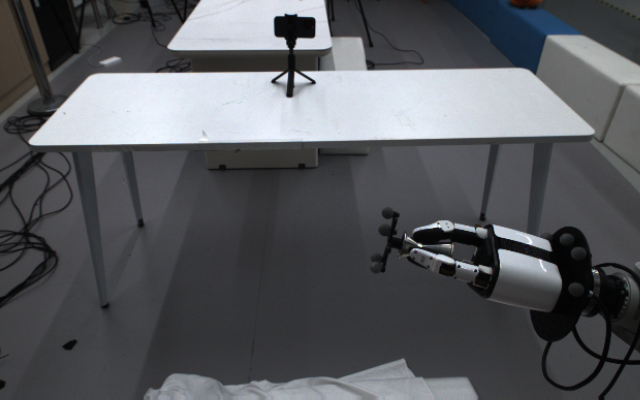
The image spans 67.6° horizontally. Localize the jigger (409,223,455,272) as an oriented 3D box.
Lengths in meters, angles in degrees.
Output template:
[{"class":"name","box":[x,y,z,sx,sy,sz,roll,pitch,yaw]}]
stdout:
[{"class":"jigger","box":[0.152,0.068,0.674,0.071,0.043,0.043,14,36,4]}]
